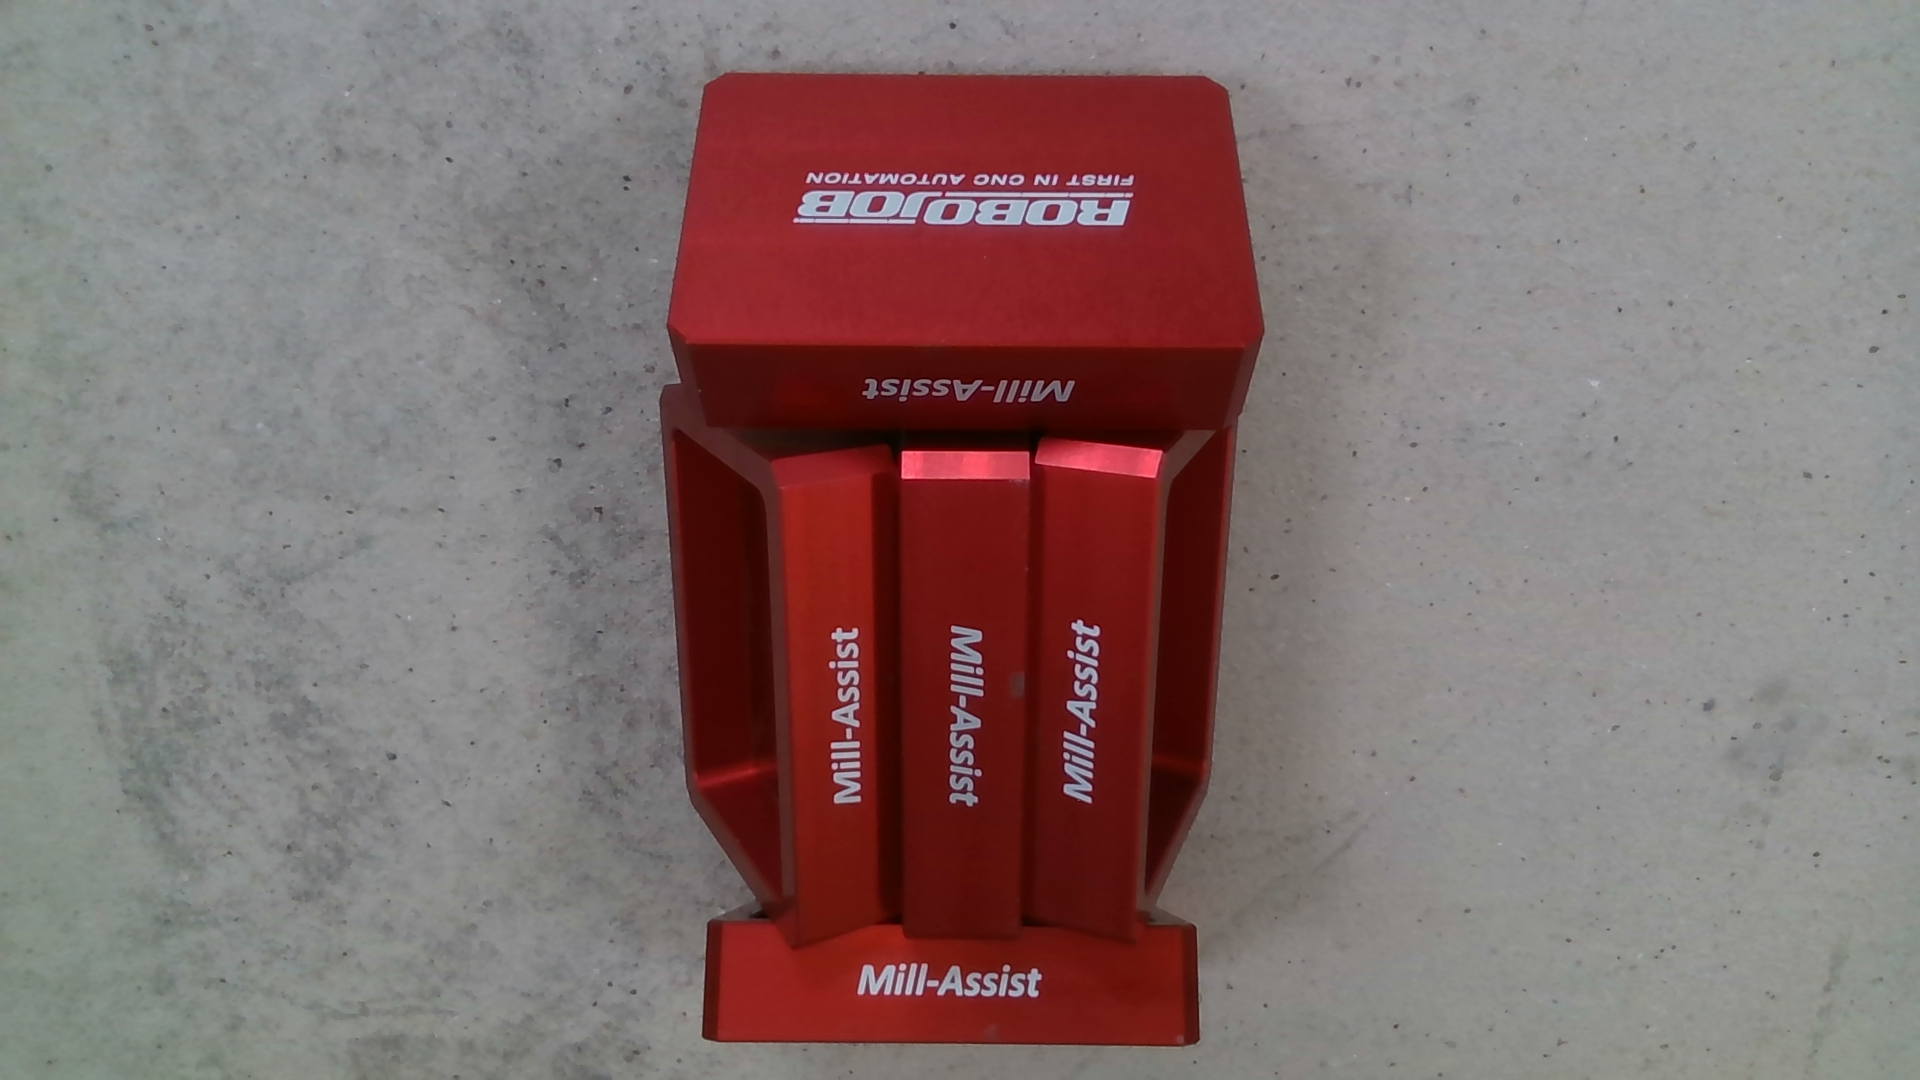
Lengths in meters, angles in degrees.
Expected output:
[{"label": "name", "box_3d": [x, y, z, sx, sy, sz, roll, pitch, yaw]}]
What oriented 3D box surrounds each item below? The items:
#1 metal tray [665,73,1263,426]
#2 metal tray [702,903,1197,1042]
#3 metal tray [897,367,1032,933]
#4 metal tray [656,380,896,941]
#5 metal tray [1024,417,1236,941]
[{"label": "metal tray", "box_3d": [0.001, -0.072, 0.333, 0.130, 0.090, 0.030, 0, 146, 0]}, {"label": "metal tray", "box_3d": [-0.003, 0.124, 0.403, 0.130, 0.090, 0.030, 1, 78, 0]}, {"label": "metal tray", "box_3d": [0.001, 0.027, 0.368, 0.030, 0.090, 0.130, 0, 110, 0]}, {"label": "metal tray", "box_3d": [-0.049, 0.028, 0.368, 0.030, 0.090, 0.130, -10, 113, -27]}, {"label": "metal tray", "box_3d": [0.047, 0.026, 0.366, 0.030, 0.090, 0.130, 8, 111, 21]}]
